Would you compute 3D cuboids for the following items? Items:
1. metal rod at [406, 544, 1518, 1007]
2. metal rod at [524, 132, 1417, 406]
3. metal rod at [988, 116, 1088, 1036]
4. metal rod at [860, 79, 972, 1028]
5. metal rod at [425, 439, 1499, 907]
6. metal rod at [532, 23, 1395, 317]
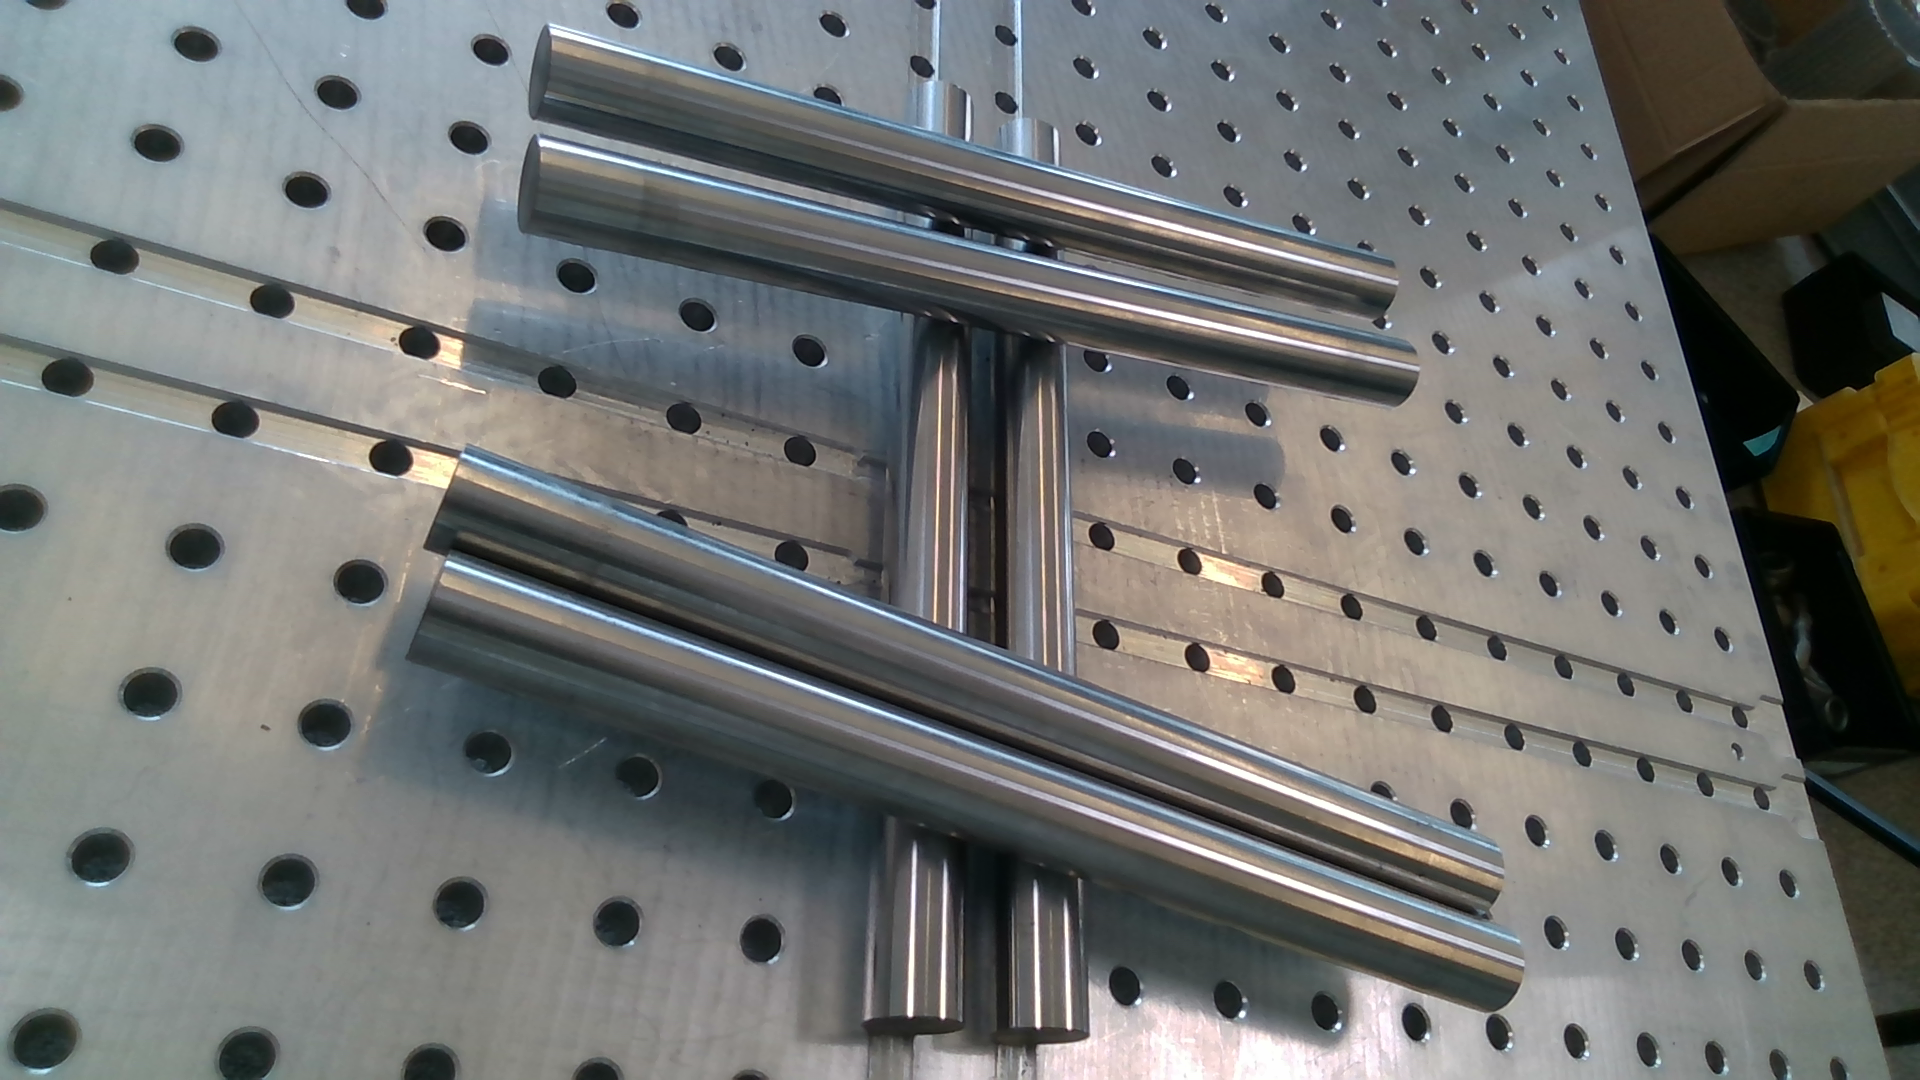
[{"bbox_3d":[0.019,0.066,0.341,0.300,0.025,0.025,22,55,-20],"label":"metal rod"},{"bbox_3d":[0.023,-0.075,0.419,0.300,0.025,0.025,7,62,-29],"label":"metal rod"},{"bbox_3d":[0.021,-0.009,0.415,0.025,0.025,0.299,15,58,-24],"label":"metal rod"},{"bbox_3d":[-0.010,-0.017,0.400,0.025,0.025,0.299,15,58,-24],"label":"metal rod"},{"bbox_3d":[0.018,0.043,0.353,0.300,0.025,0.025,22,55,-20],"label":"metal rod"},{"bbox_3d":[0.020,-0.109,0.435,0.300,0.025,0.025,6,62,-29],"label":"metal rod"}]
